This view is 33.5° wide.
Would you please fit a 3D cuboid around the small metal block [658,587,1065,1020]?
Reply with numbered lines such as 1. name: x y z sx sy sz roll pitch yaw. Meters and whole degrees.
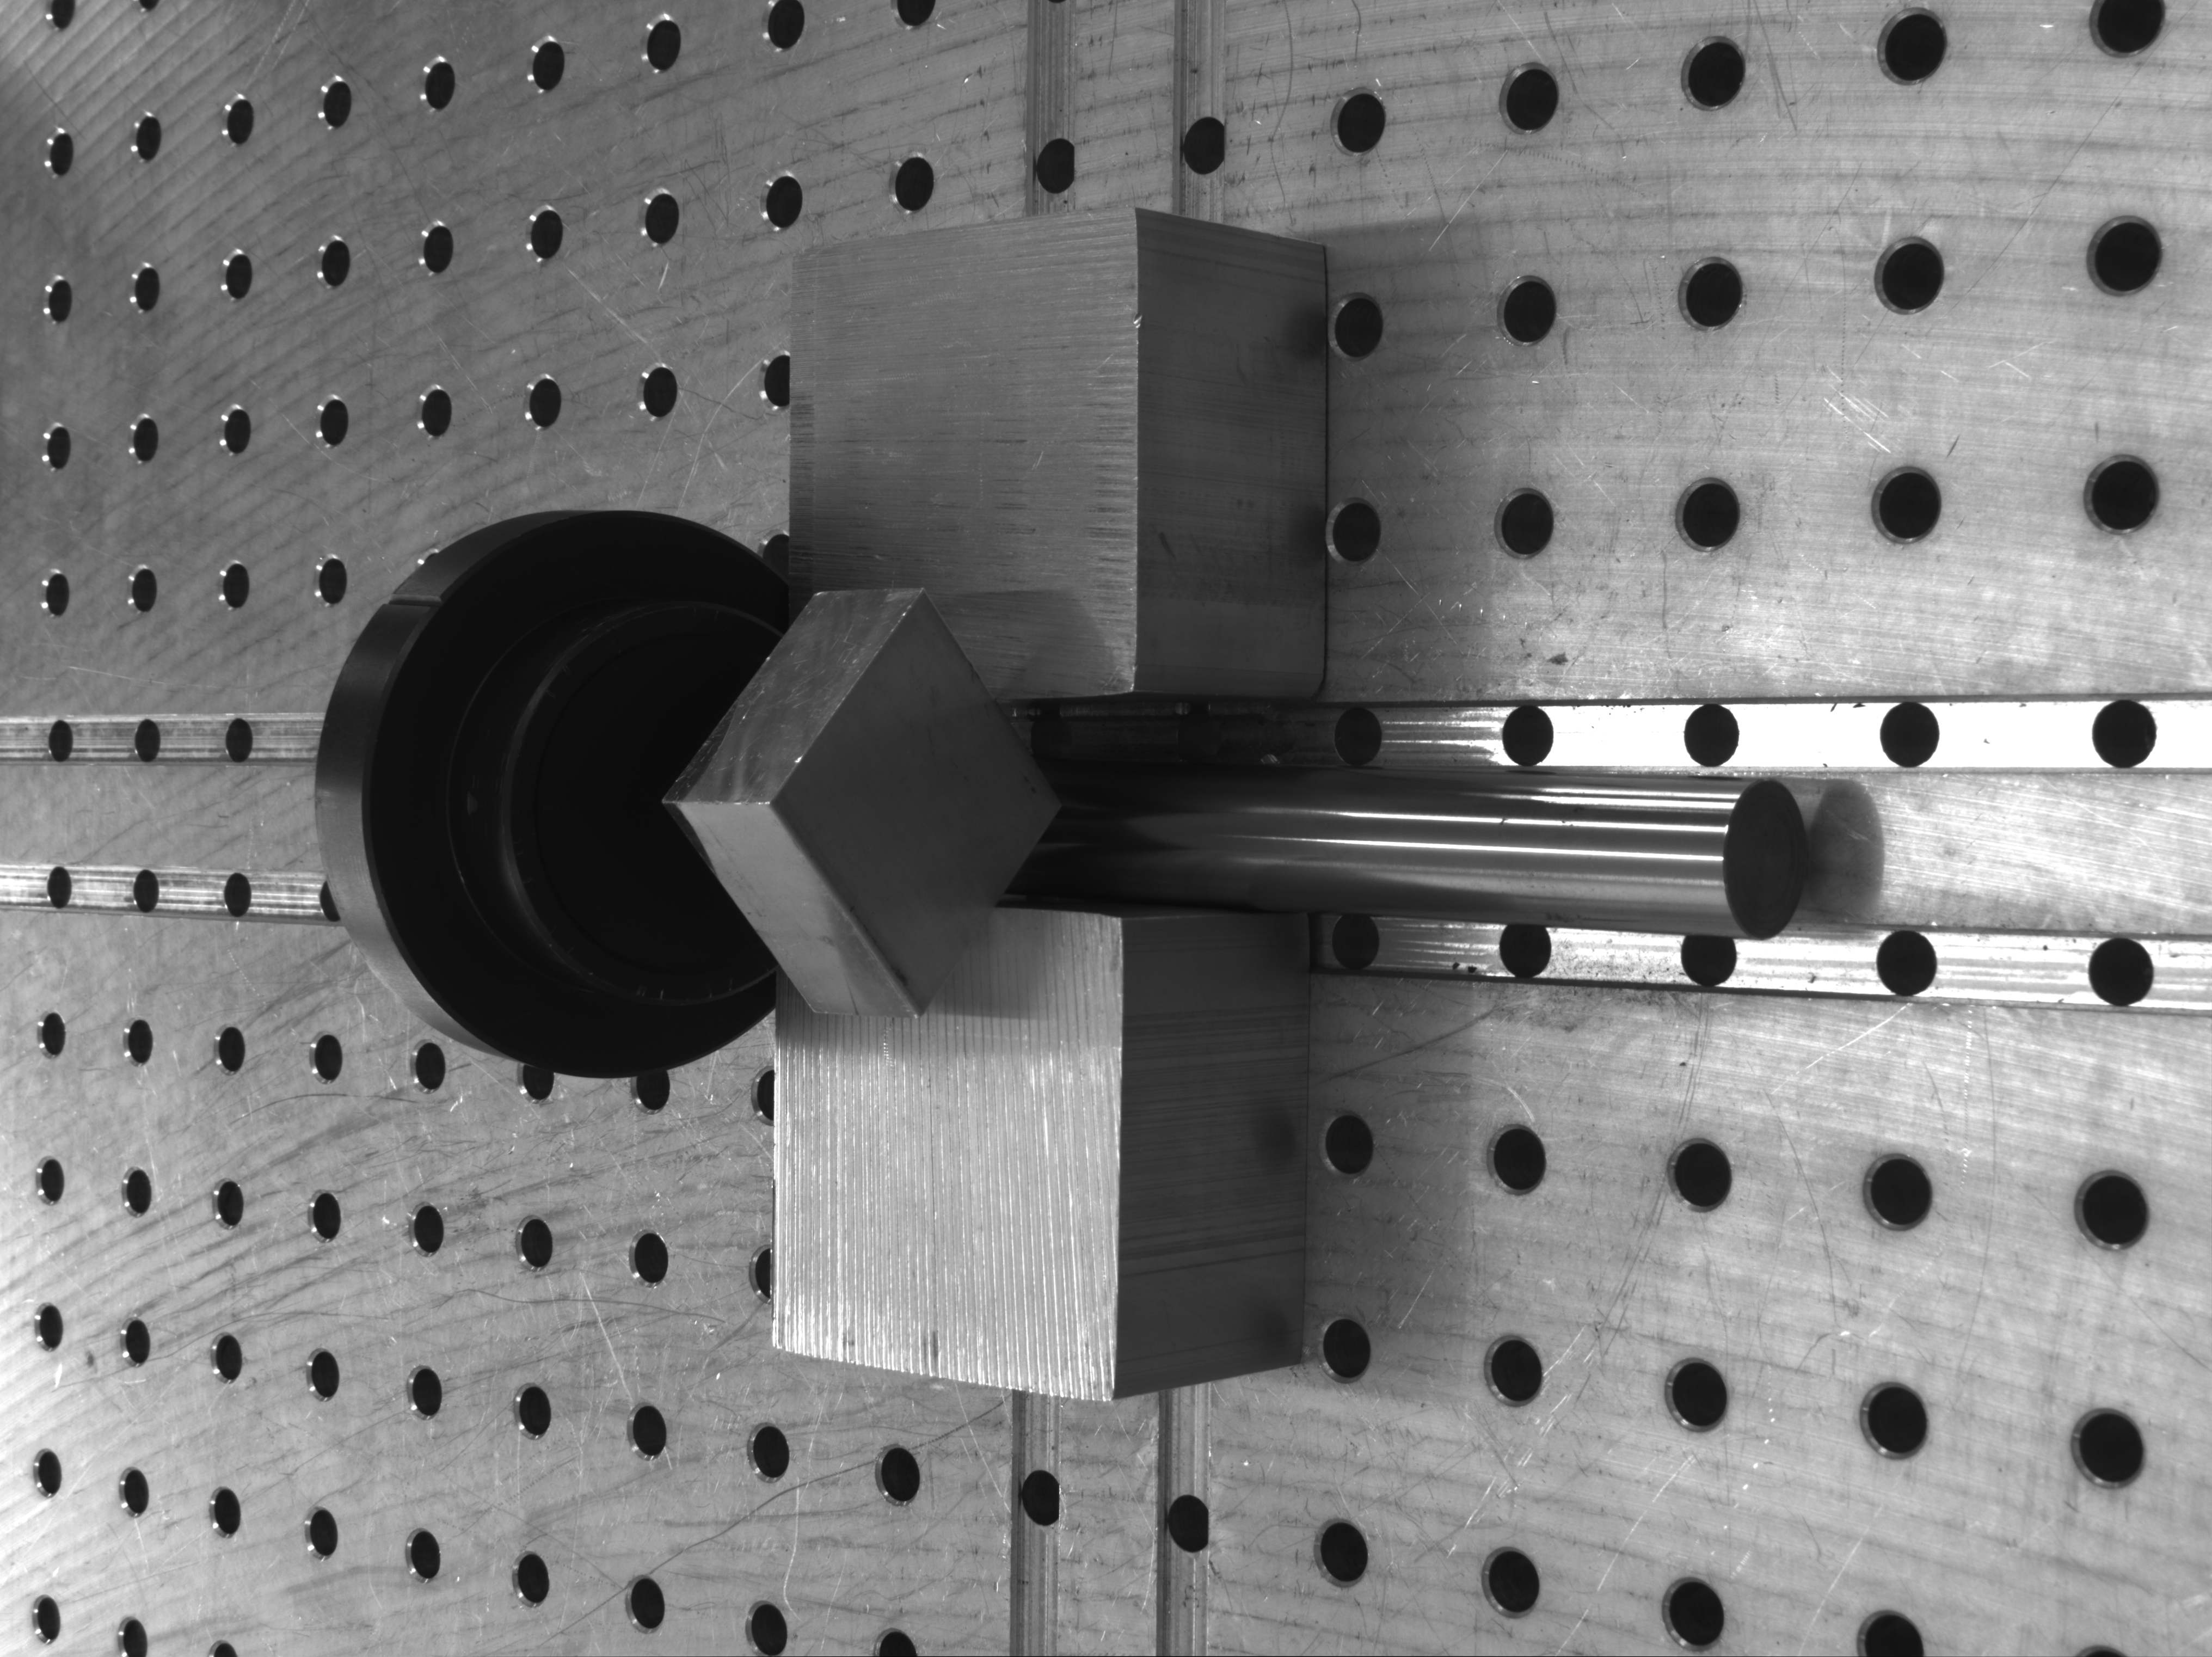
1. small metal block: -0.039 -0.004 0.608 0.025 0.050 0.050 1 46 40

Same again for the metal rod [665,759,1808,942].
1. metal rod: -0.013 0.000 0.659 0.299 0.025 0.025 3 92 40

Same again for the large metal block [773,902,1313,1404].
1. large metal block: -0.012 0.053 0.642 0.080 0.050 0.080 2 91 40

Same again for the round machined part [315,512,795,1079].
1. round machined part: -0.082 -0.005 0.632 0.042 0.098 0.098 7 95 54

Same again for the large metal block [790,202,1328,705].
1. large metal block: -0.009 -0.062 0.640 0.080 0.050 0.080 1 90 40
